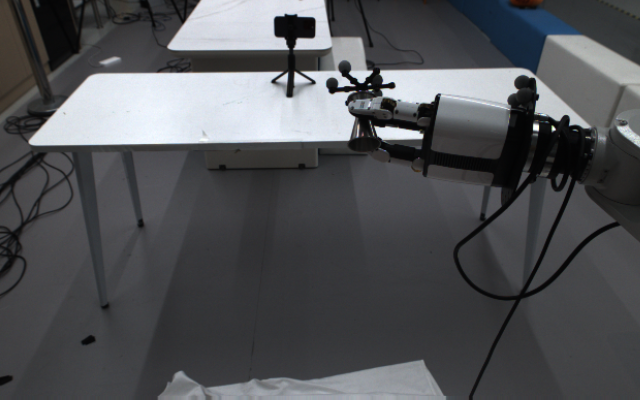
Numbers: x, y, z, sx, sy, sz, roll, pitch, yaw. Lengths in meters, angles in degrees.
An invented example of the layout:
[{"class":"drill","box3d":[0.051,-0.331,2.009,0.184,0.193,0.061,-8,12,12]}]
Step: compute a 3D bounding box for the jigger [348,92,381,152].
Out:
[{"class":"jigger","box3d":[0.056,-0.104,0.629,0.043,0.043,0.071,1,70,-2]}]
